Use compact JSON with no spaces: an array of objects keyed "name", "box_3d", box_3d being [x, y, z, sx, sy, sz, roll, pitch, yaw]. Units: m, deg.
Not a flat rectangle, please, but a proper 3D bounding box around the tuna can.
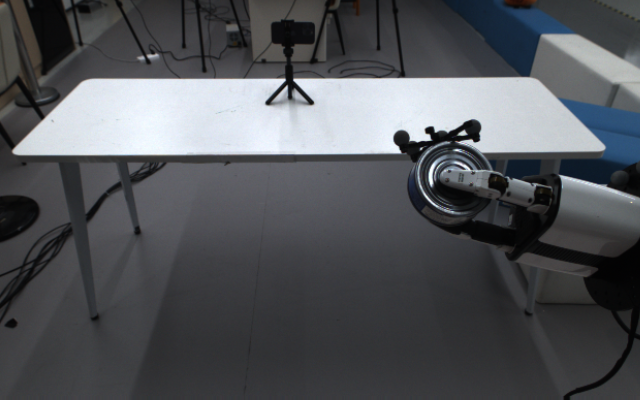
[{"name":"tuna can","box_3d":[0.140,-0.021,0.509,0.085,0.034,0.085,0,73,-1]}]
